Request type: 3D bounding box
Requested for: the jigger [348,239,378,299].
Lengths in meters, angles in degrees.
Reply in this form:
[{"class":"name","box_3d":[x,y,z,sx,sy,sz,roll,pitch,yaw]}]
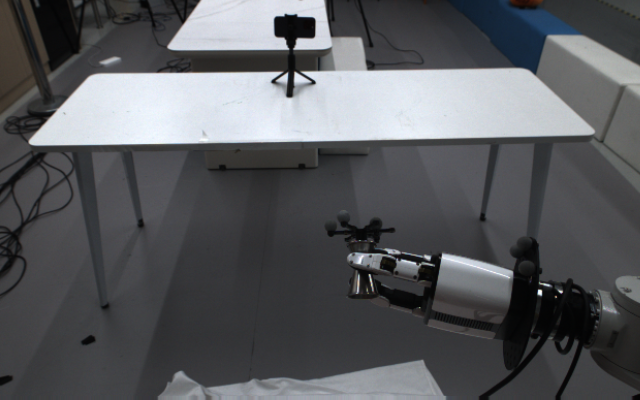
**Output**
[{"class":"jigger","box_3d":[0.055,0.087,0.617,0.043,0.043,0.071,1,70,-2]}]
